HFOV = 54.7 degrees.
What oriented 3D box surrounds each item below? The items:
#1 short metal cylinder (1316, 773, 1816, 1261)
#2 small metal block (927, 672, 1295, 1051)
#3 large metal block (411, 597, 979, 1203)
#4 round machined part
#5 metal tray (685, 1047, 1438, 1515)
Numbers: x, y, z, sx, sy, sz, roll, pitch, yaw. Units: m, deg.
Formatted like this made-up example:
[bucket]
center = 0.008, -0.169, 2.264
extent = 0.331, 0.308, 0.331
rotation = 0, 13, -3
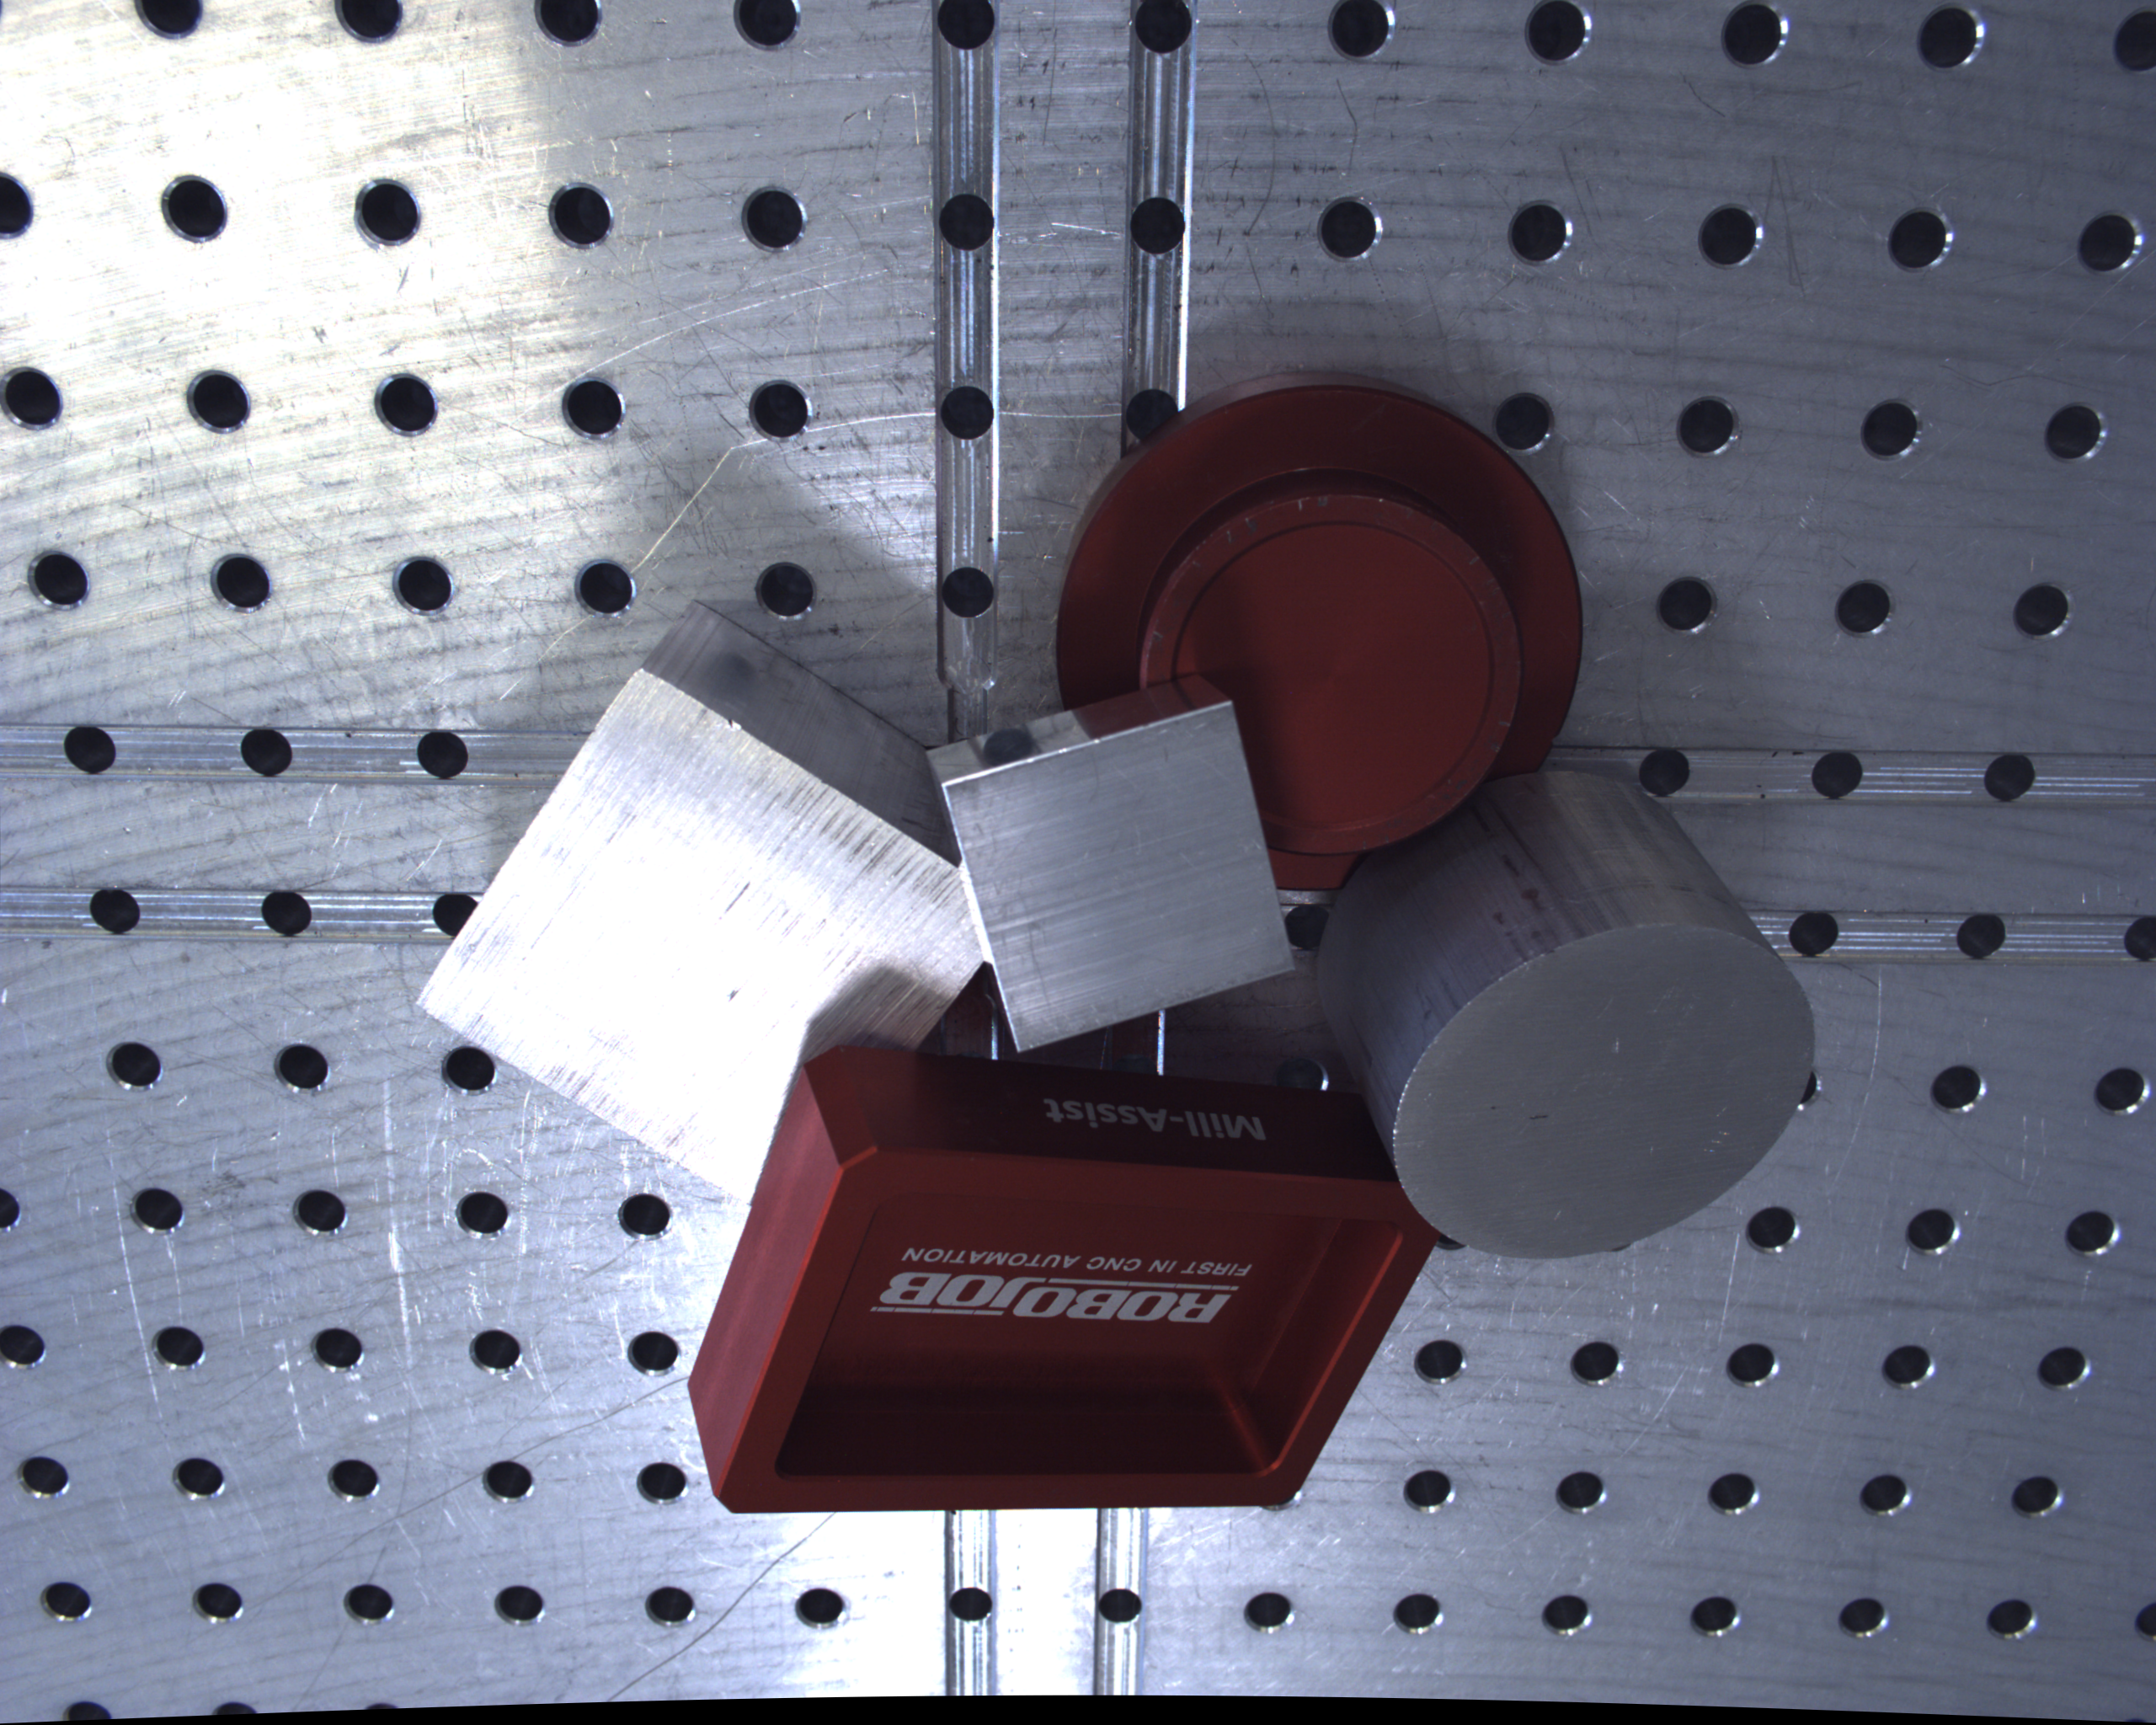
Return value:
[short metal cylinder]
center = 0.092, 0.030, 0.400
extent = 0.081, 0.050, 0.079
rotation = -6, 125, -9
[small metal block]
center = 0.005, -0.001, 0.364
extent = 0.050, 0.025, 0.050
rotation = -16, 107, -6
[large metal block]
center = -0.066, 0.009, 0.403
extent = 0.080, 0.050, 0.080
rotation = 34, 106, -12
[round machined part]
center = 0.046, -0.040, 0.390
extent = 0.099, 0.042, 0.097
rotation = 0, 110, 0
[metal tray]
center = -0.001, 0.086, 0.412
extent = 0.131, 0.030, 0.089
rotation = 8, 119, -27
